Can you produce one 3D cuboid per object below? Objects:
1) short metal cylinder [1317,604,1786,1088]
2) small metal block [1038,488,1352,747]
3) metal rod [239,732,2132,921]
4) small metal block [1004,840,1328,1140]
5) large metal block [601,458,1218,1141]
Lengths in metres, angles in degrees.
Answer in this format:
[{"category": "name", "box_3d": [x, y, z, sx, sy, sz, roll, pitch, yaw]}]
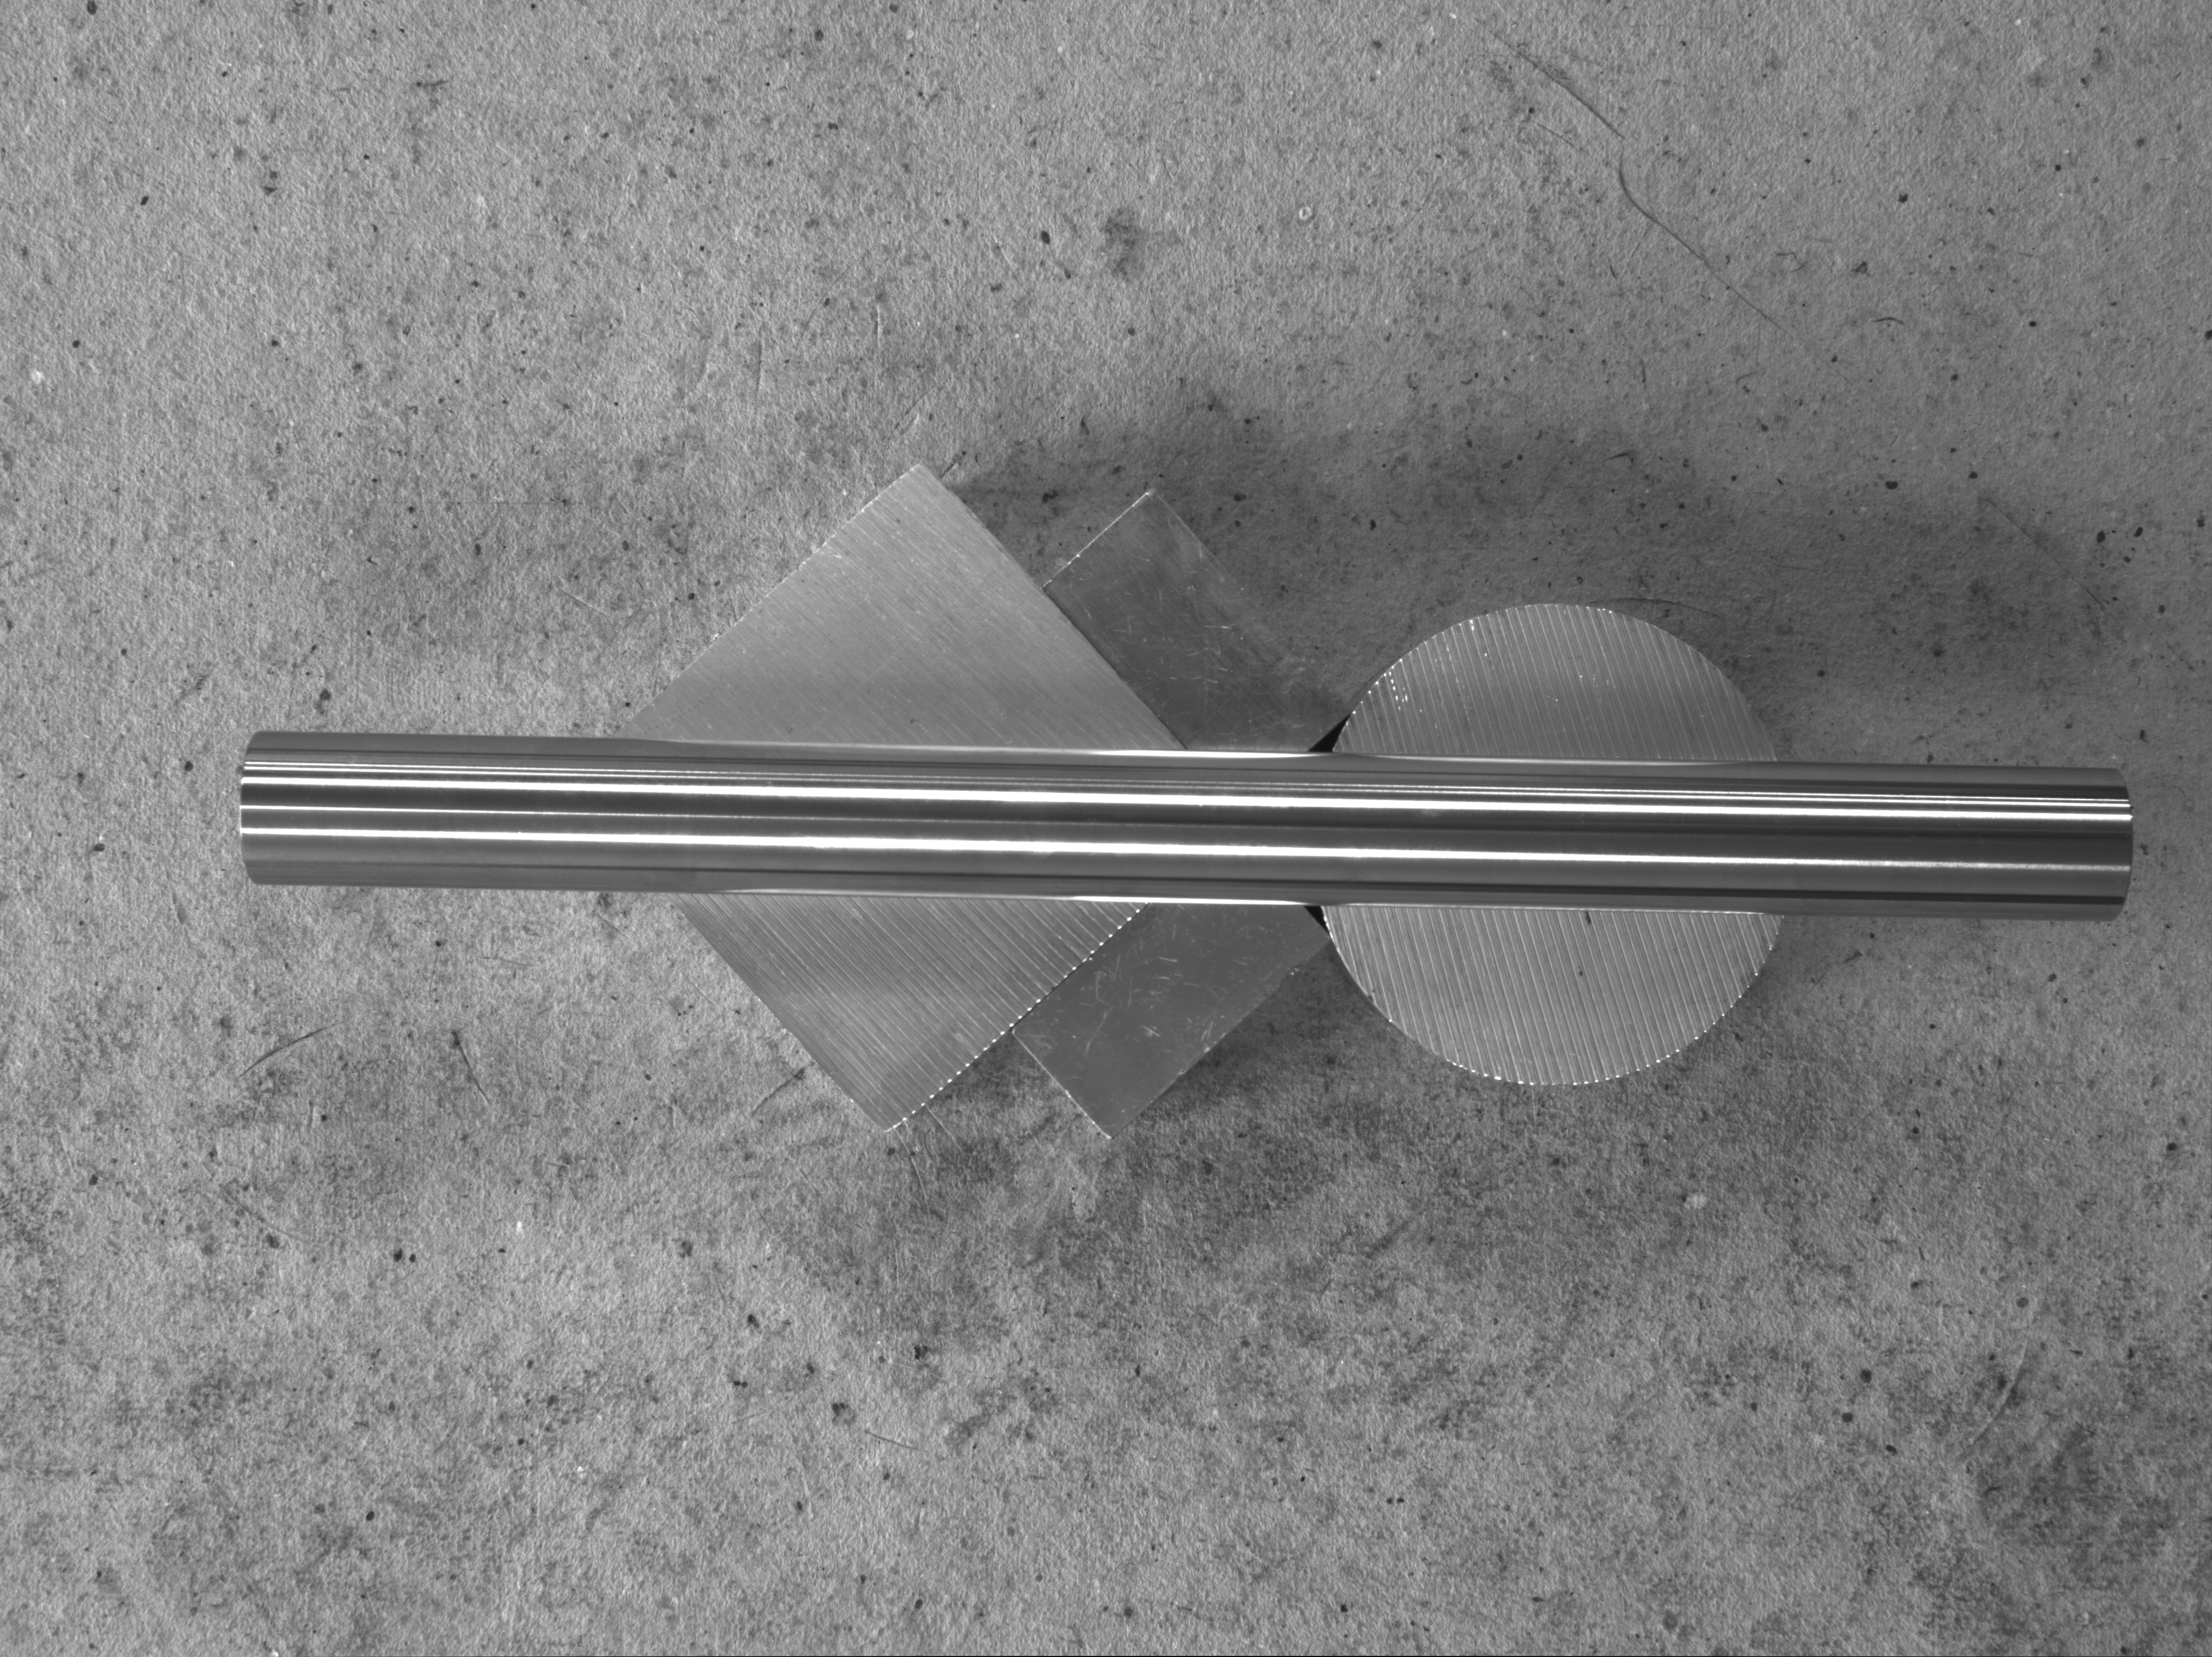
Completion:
[{"category": "short metal cylinder", "box_3d": [0.074, 0.003, 0.633, 0.080, 0.050, 0.080, 0, 90, 0]}, {"category": "small metal block", "box_3d": [0.015, -0.030, 0.634, 0.025, 0.050, 0.050, -42, 90, 0]}, {"category": "metal rod", "box_3d": [0.013, 0.000, 0.594, 0.300, 0.025, 0.025, 1, 90, 0]}, {"category": "small metal block", "box_3d": [0.010, 0.026, 0.635, 0.050, 0.050, 0.025, -42, 90, 0]}, {"category": "large metal block", "box_3d": [-0.034, -0.005, 0.632, 0.080, 0.050, 0.080, -42, 90, 0]}]
